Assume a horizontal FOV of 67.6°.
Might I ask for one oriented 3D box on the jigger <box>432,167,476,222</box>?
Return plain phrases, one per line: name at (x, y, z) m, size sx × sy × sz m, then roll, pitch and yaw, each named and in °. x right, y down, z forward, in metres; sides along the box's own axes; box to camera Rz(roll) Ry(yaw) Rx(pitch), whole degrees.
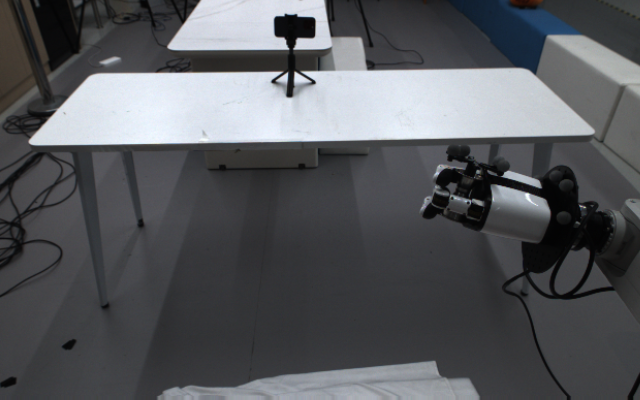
jigger at (0.205, -0.007, 0.701) m, size 0.043 × 0.071 × 0.043 m, roll 15°, pitch 17°, yaw -5°
